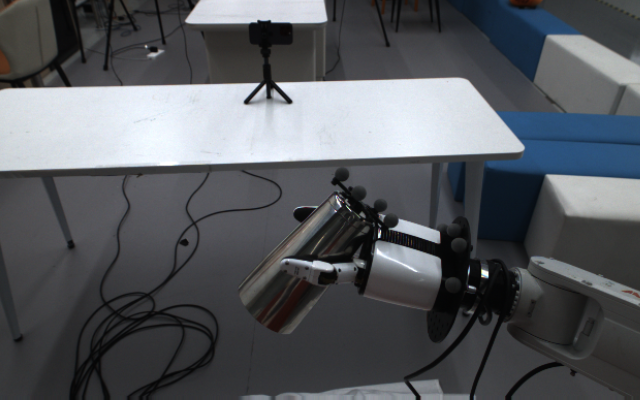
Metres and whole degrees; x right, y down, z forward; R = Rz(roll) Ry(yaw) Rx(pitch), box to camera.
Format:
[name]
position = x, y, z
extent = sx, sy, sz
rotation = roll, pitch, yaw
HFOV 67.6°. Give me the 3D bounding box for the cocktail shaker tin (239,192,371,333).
[cocktail shaker tin]
position = -0.012, 0.069, 0.601
extent = 0.093, 0.170, 0.093
rotation = 41, 13, -12
